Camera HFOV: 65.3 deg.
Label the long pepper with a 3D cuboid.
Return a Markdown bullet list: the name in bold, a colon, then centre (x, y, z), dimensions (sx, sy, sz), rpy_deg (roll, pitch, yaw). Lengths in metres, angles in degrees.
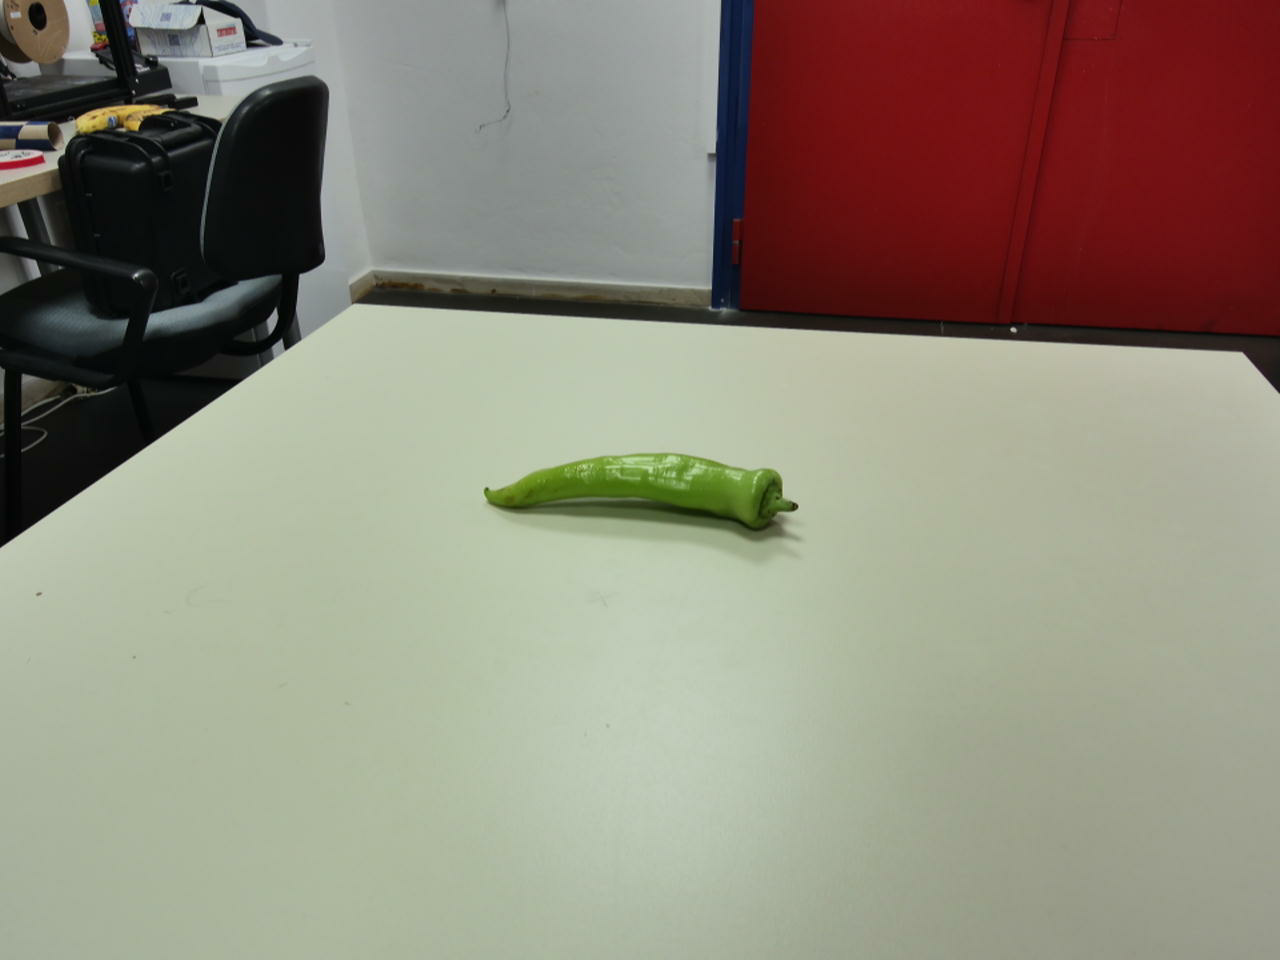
- **long pepper**: centre (0.000, 0.002, 0.611), dimensions (0.197, 0.038, 0.046), rpy_deg (6, 27, 13)
